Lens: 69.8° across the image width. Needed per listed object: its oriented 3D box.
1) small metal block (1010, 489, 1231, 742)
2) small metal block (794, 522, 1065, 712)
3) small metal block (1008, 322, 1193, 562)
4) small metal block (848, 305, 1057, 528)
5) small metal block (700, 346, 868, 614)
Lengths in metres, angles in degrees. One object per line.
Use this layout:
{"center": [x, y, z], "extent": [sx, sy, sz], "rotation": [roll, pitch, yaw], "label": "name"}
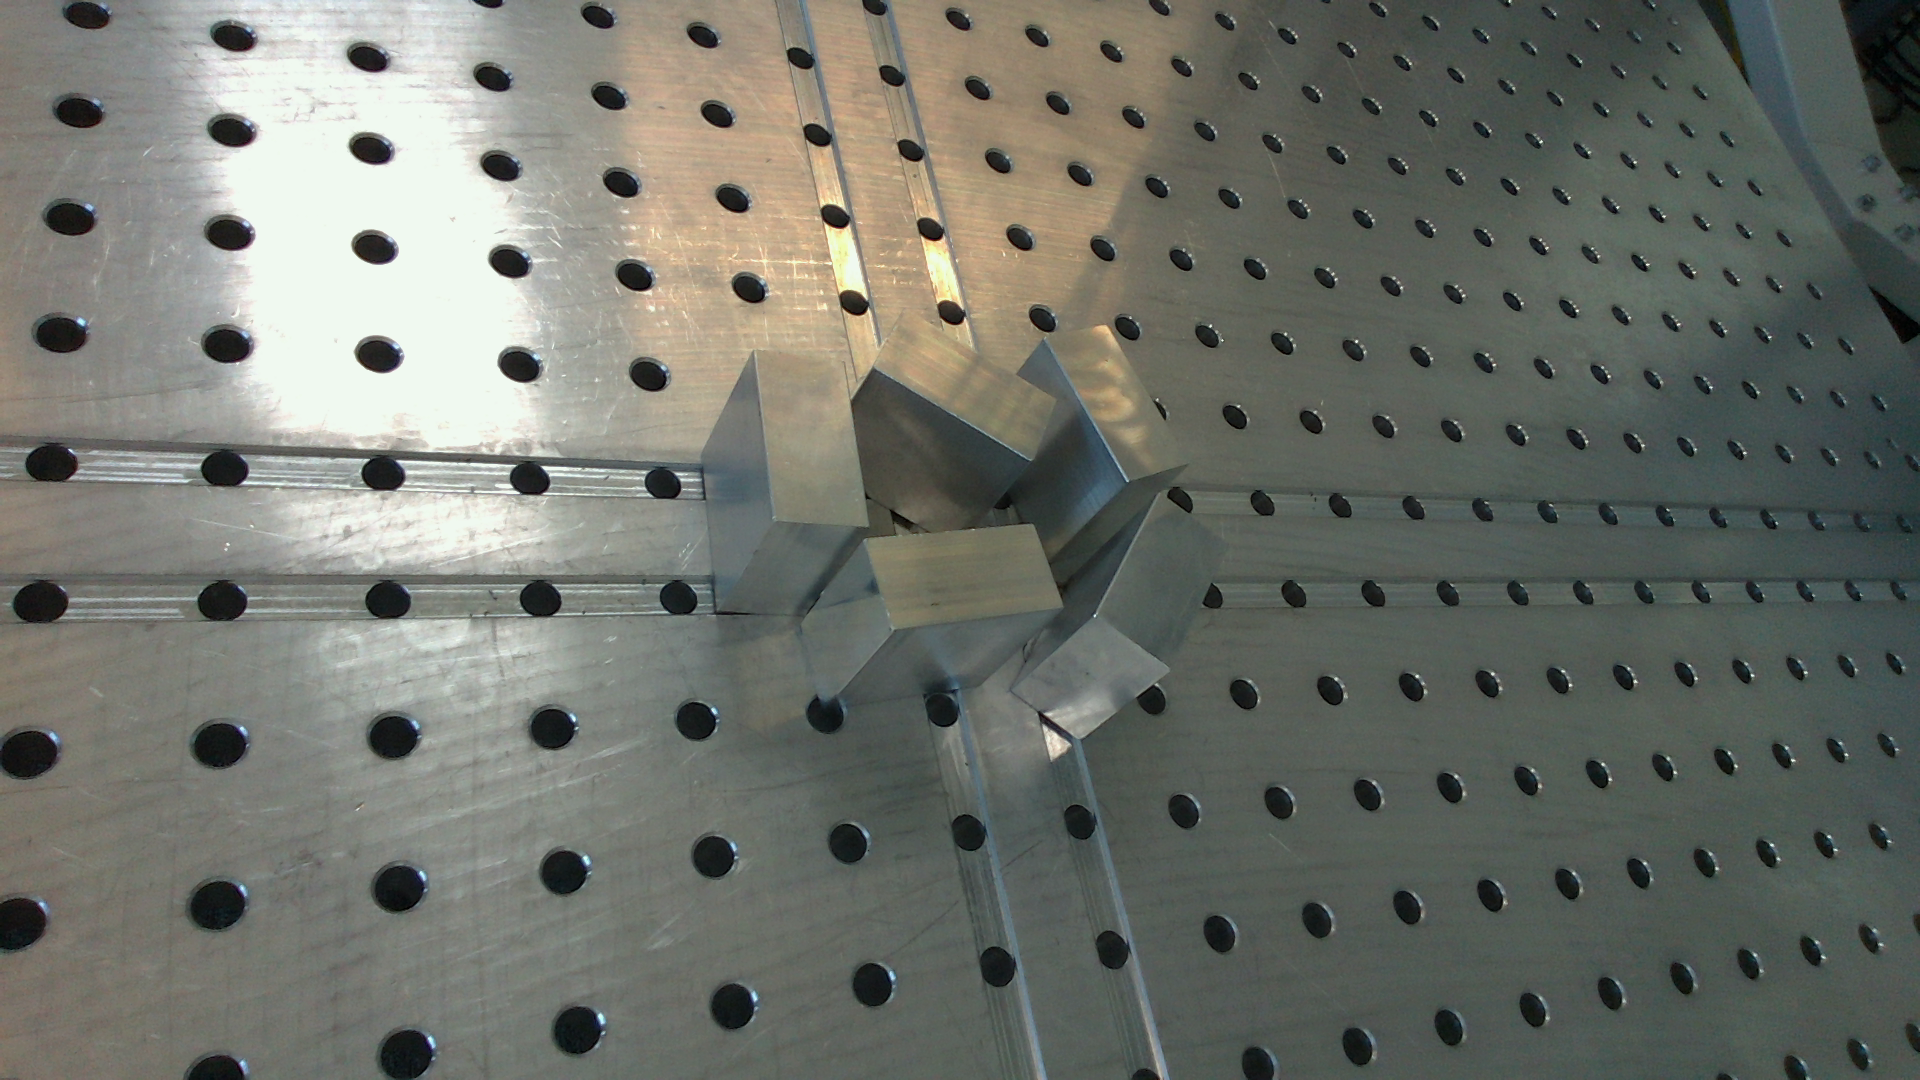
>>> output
{"center": [0.045, 0.022, 0.387], "extent": [0.025, 0.050, 0.050], "rotation": [36, 51, -3], "label": "small metal block"}
{"center": [-0.009, 0.020, 0.359], "extent": [0.050, 0.050, 0.025], "rotation": [-5, 64, -31], "label": "small metal block"}
{"center": [0.035, -0.028, 0.412], "extent": [0.025, 0.050, 0.050], "rotation": [-17, 70, -35], "label": "small metal block"}
{"center": [-0.008, -0.031, 0.391], "extent": [0.050, 0.050, 0.025], "rotation": [30, 52, -9], "label": "small metal block"}
{"center": [-0.048, -0.014, 0.359], "extent": [0.025, 0.050, 0.050], "rotation": [3, 61, -26], "label": "small metal block"}
